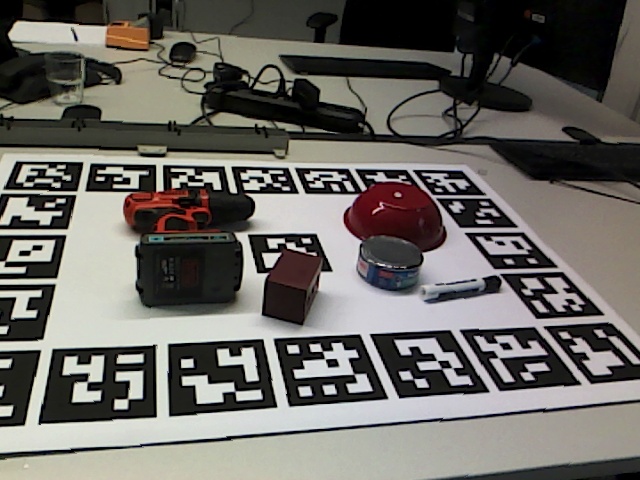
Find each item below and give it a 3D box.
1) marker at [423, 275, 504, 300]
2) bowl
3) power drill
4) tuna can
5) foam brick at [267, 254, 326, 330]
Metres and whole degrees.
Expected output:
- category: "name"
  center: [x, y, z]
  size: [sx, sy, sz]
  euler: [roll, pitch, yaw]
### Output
- category: "marker"
  center: [0.191, 0.061, 0.812]
  size: [0.120, 0.019, 0.020]
  euler: [-6, 35, -24]
- category: "bowl"
  center: [0.115, -0.039, 0.950]
  size: [0.161, 0.055, 0.162]
  euler: [2, 25, -1]
- category: "power drill"
  center: [-0.164, -0.001, 0.802]
  size: [0.184, 0.057, 0.188]
  euler: [2, 28, -18]
- category: "tuna can"
  center: [0.097, 0.029, 0.830]
  size: [0.085, 0.033, 0.086]
  euler: [8, 30, -5]
- category: "foam brick"
  center: [-0.027, 0.061, 0.741]
  size: [0.051, 0.052, 0.078]
  euler: [13, 32, 5]
